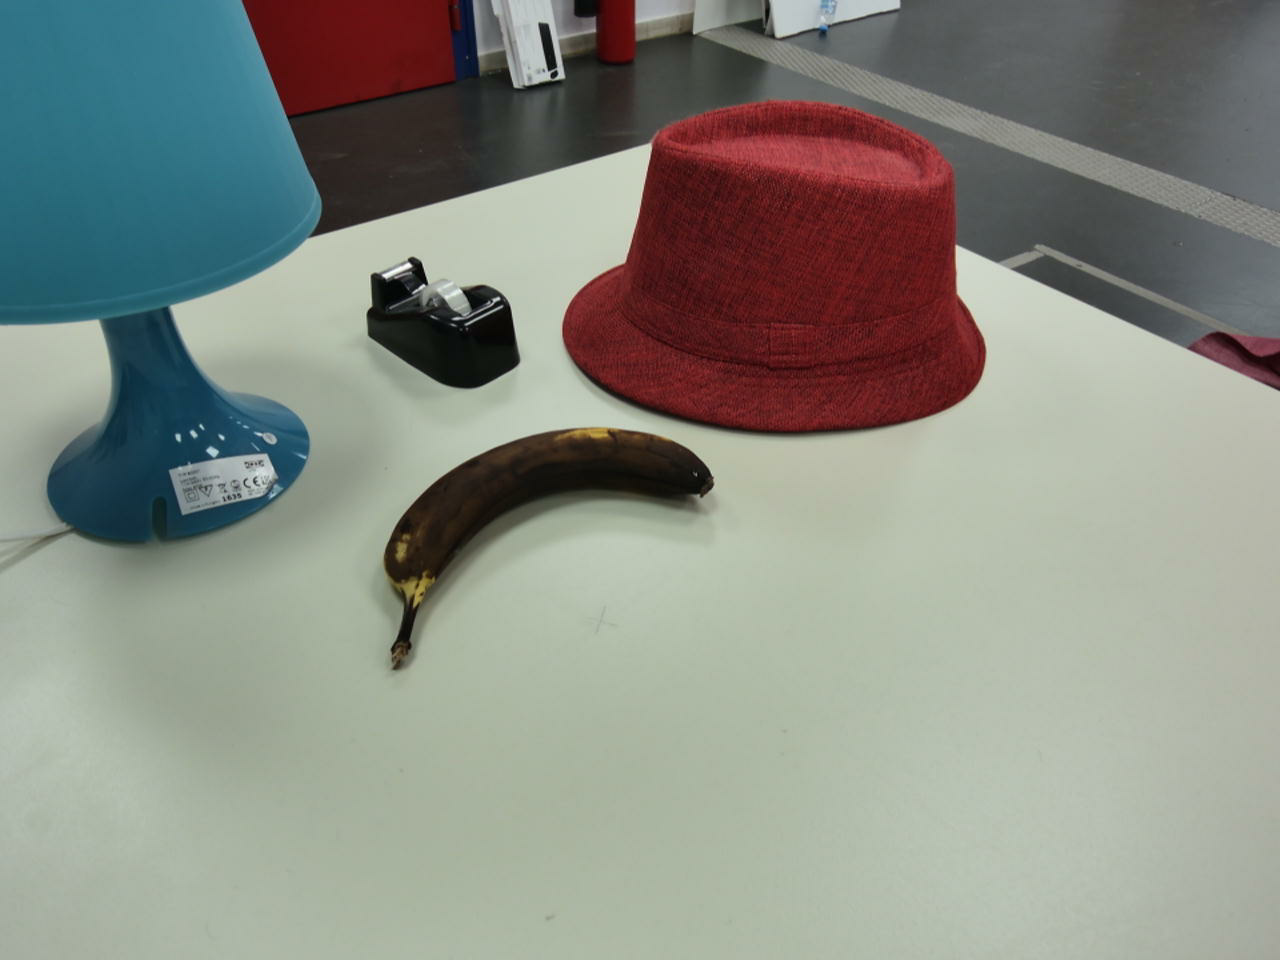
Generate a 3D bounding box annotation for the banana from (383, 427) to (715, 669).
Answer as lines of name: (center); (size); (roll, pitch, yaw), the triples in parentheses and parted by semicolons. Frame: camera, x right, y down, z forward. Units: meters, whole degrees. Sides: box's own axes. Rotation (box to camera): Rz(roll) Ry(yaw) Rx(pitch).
banana: (-0.057, 0.013, 0.498); (0.188, 0.034, 0.091); (-24, 44, -29)
